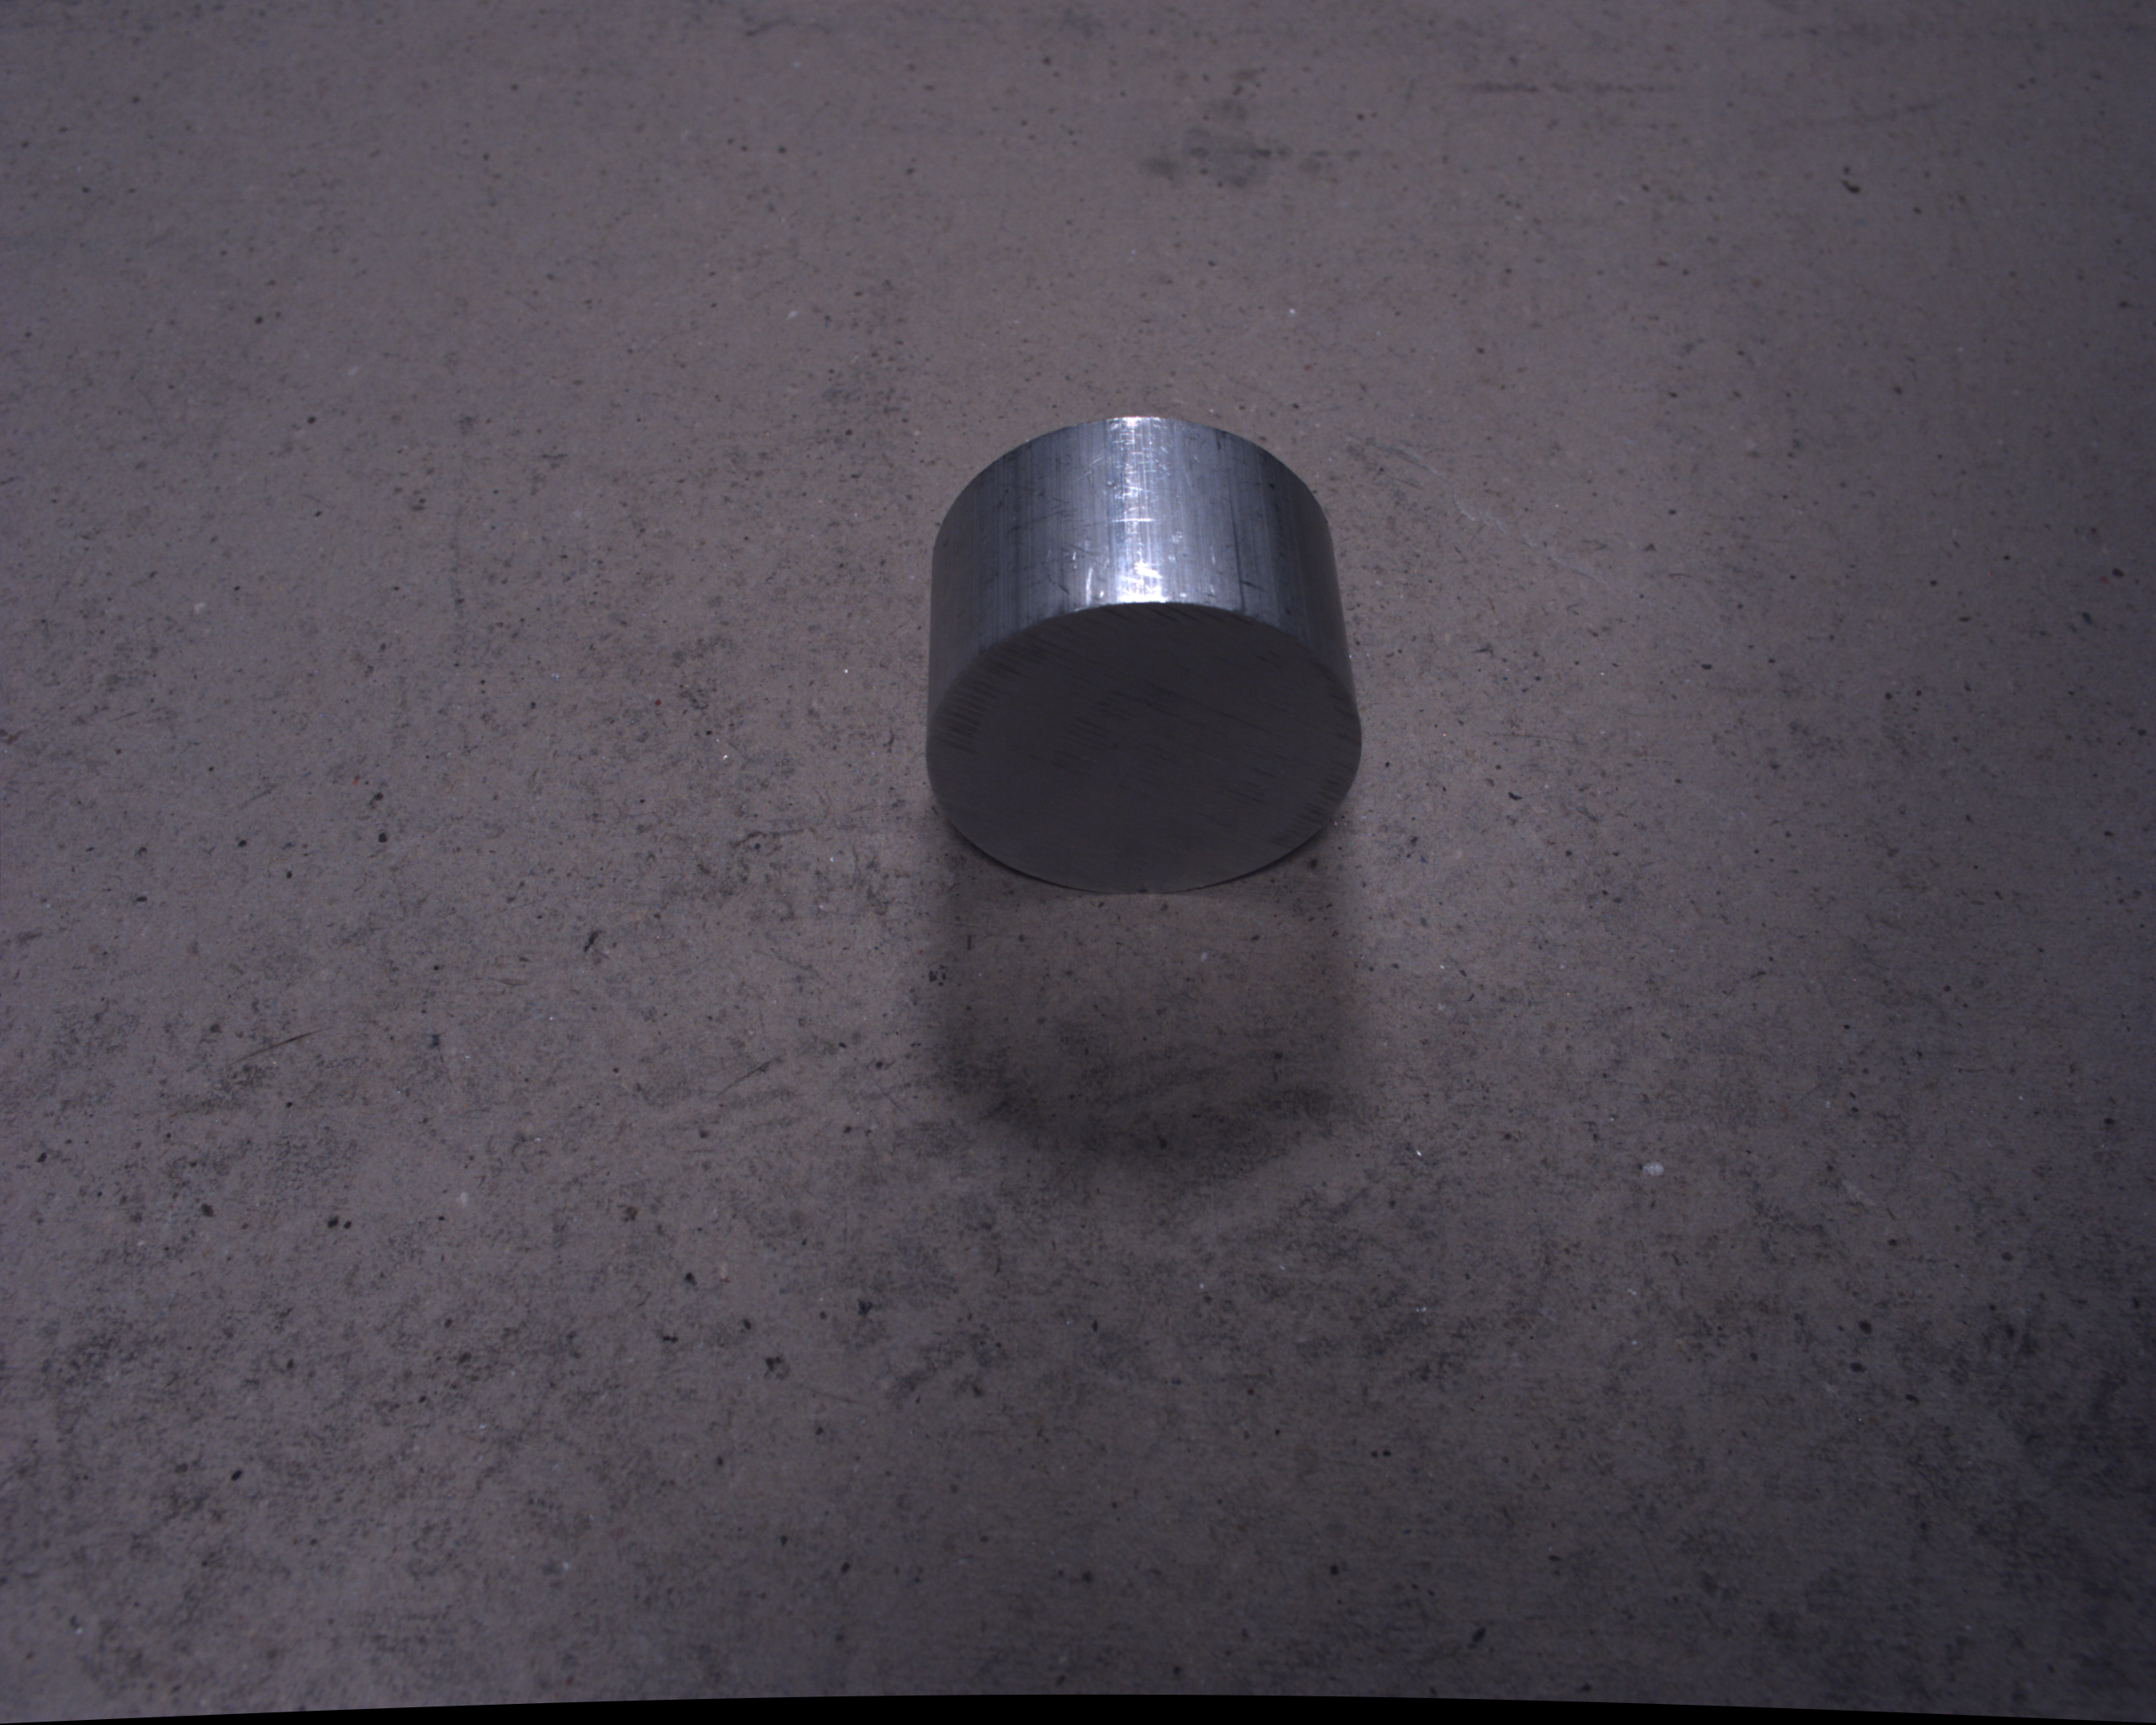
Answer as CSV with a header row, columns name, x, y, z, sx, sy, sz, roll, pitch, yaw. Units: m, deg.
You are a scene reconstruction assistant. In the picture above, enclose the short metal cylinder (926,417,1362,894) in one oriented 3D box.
name,x,y,z,sx,sy,sz,roll,pitch,yaw
short metal cylinder,0.012,-0.038,0.402,0.081,0.080,0.050,-1,50,-1
